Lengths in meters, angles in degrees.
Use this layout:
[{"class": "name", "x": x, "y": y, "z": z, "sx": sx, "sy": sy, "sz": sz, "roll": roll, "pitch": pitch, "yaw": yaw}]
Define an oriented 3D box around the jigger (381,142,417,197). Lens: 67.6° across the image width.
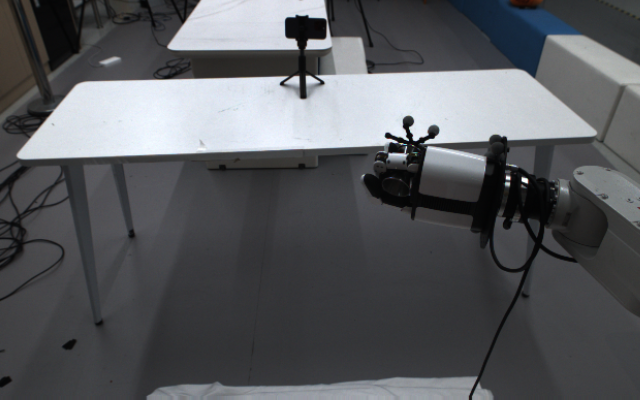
[{"class": "jigger", "x": 0.123, "y": -0.048, "z": 0.712, "sx": 0.043, "sy": 0.043, "sz": 0.071, "roll": 15, "pitch": 58, "yaw": 18}]
